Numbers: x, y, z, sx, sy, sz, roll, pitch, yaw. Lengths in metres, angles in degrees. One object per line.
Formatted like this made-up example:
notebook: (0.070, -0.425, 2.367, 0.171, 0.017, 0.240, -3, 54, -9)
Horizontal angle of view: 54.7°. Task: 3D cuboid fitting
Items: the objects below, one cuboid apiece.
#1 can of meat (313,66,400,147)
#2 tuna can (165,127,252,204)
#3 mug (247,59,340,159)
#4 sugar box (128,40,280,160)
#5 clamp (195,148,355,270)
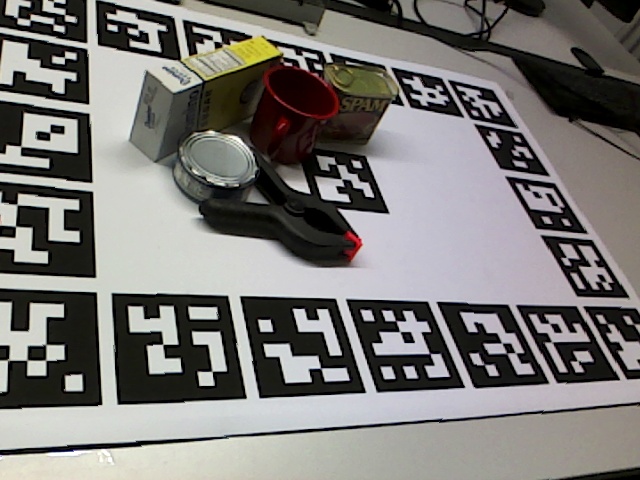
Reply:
can of meat: (0.037, -0.168, 0.793, 0.101, 0.084, 0.058, -2, 51, -33)
tuna can: (-0.117, -0.076, 0.647, 0.085, 0.034, 0.086, 15, 47, -18)
mug: (-0.038, -0.141, 0.714, 0.093, 0.081, 0.117, 25, 45, -9)
sugar box: (-0.125, -0.158, 0.684, 0.045, 0.093, 0.176, 41, 42, 11)
clamp: (-0.038, -0.023, 0.652, 0.165, 0.036, 0.122, 34, 38, -4)
